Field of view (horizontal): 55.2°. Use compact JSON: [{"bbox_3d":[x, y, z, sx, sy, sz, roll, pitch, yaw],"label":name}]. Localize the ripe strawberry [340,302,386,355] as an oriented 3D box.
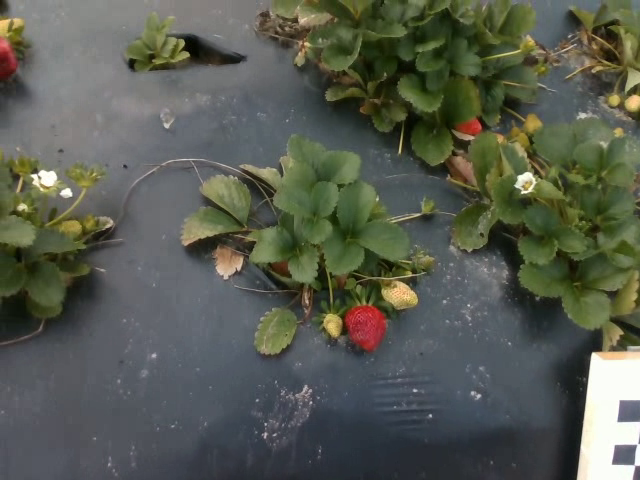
[{"bbox_3d":[0.048,0.093,0.603,0.046,0.046,0.059,-5,34,-1],"label":"ripe strawberry"}]
